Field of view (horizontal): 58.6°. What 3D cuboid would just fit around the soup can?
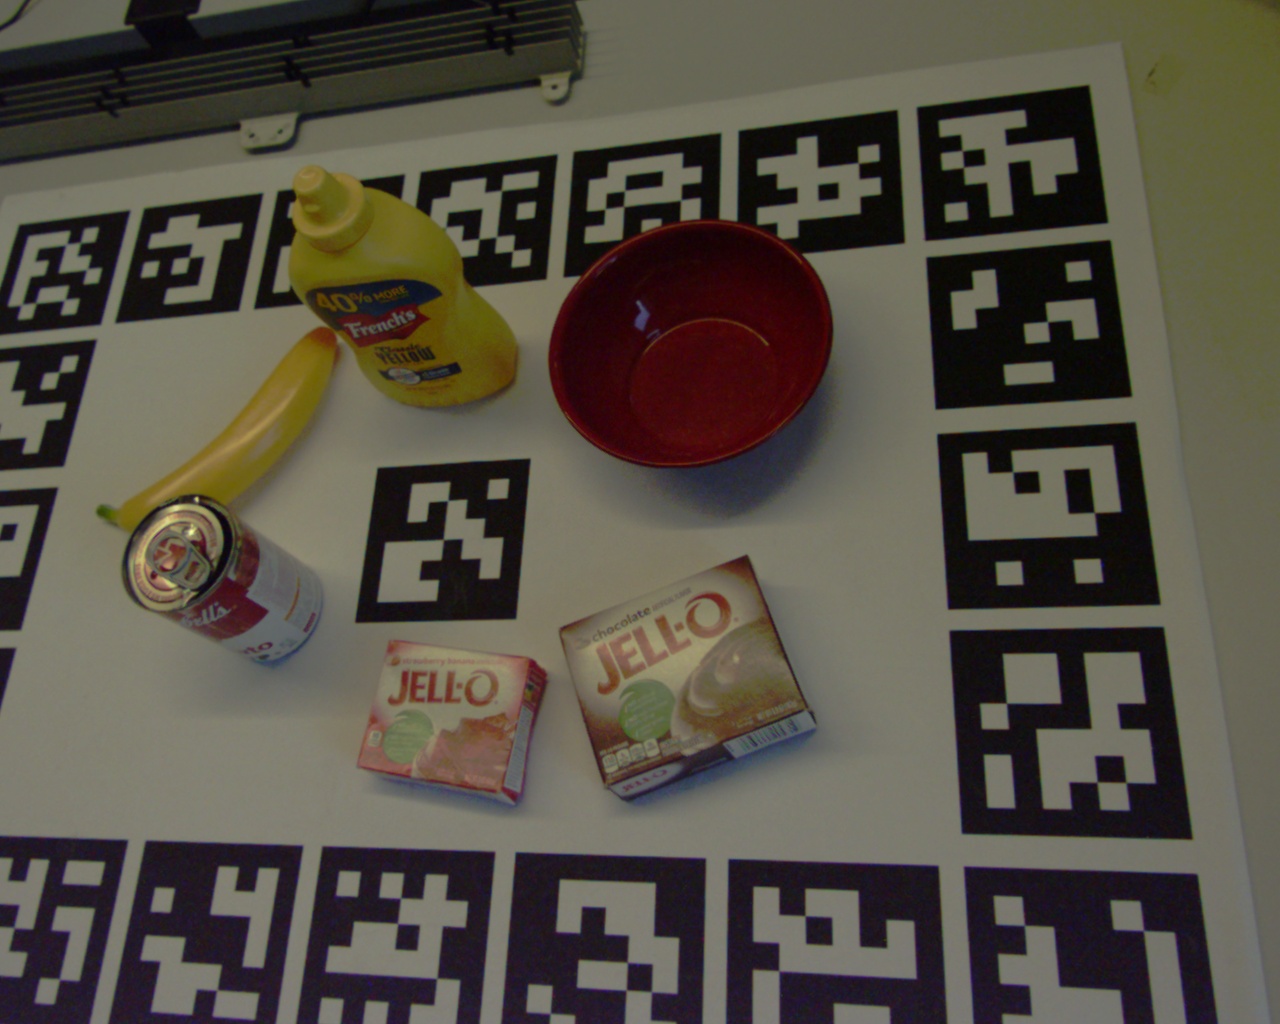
[{"bbox_3d":[-0.249,0.039,0.680,0.068,0.101,0.068,-5,65,10],"label":"soup can"}]

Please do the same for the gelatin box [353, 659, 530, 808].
[{"bbox_3d":[-0.114,0.126,0.655,0.090,0.030,0.073,4,72,17],"label":"gelatin box"}]

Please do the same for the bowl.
[{"bbox_3d":[0.034,-0.084,0.694,0.163,0.054,0.162,-7,65,14],"label":"bowl"}]

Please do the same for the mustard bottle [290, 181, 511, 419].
[{"bbox_3d":[-0.149,-0.124,0.671,0.097,0.190,0.058,-2,64,13],"label":"mustard bottle"}]

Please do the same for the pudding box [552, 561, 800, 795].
[{"bbox_3d":[0.019,0.092,0.627,0.114,0.038,0.090,-25,69,4],"label":"pudding box"}]

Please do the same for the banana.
[{"bbox_3d":[-0.275,-0.047,0.770,0.197,0.038,0.075,-46,54,-7],"label":"banana"}]
